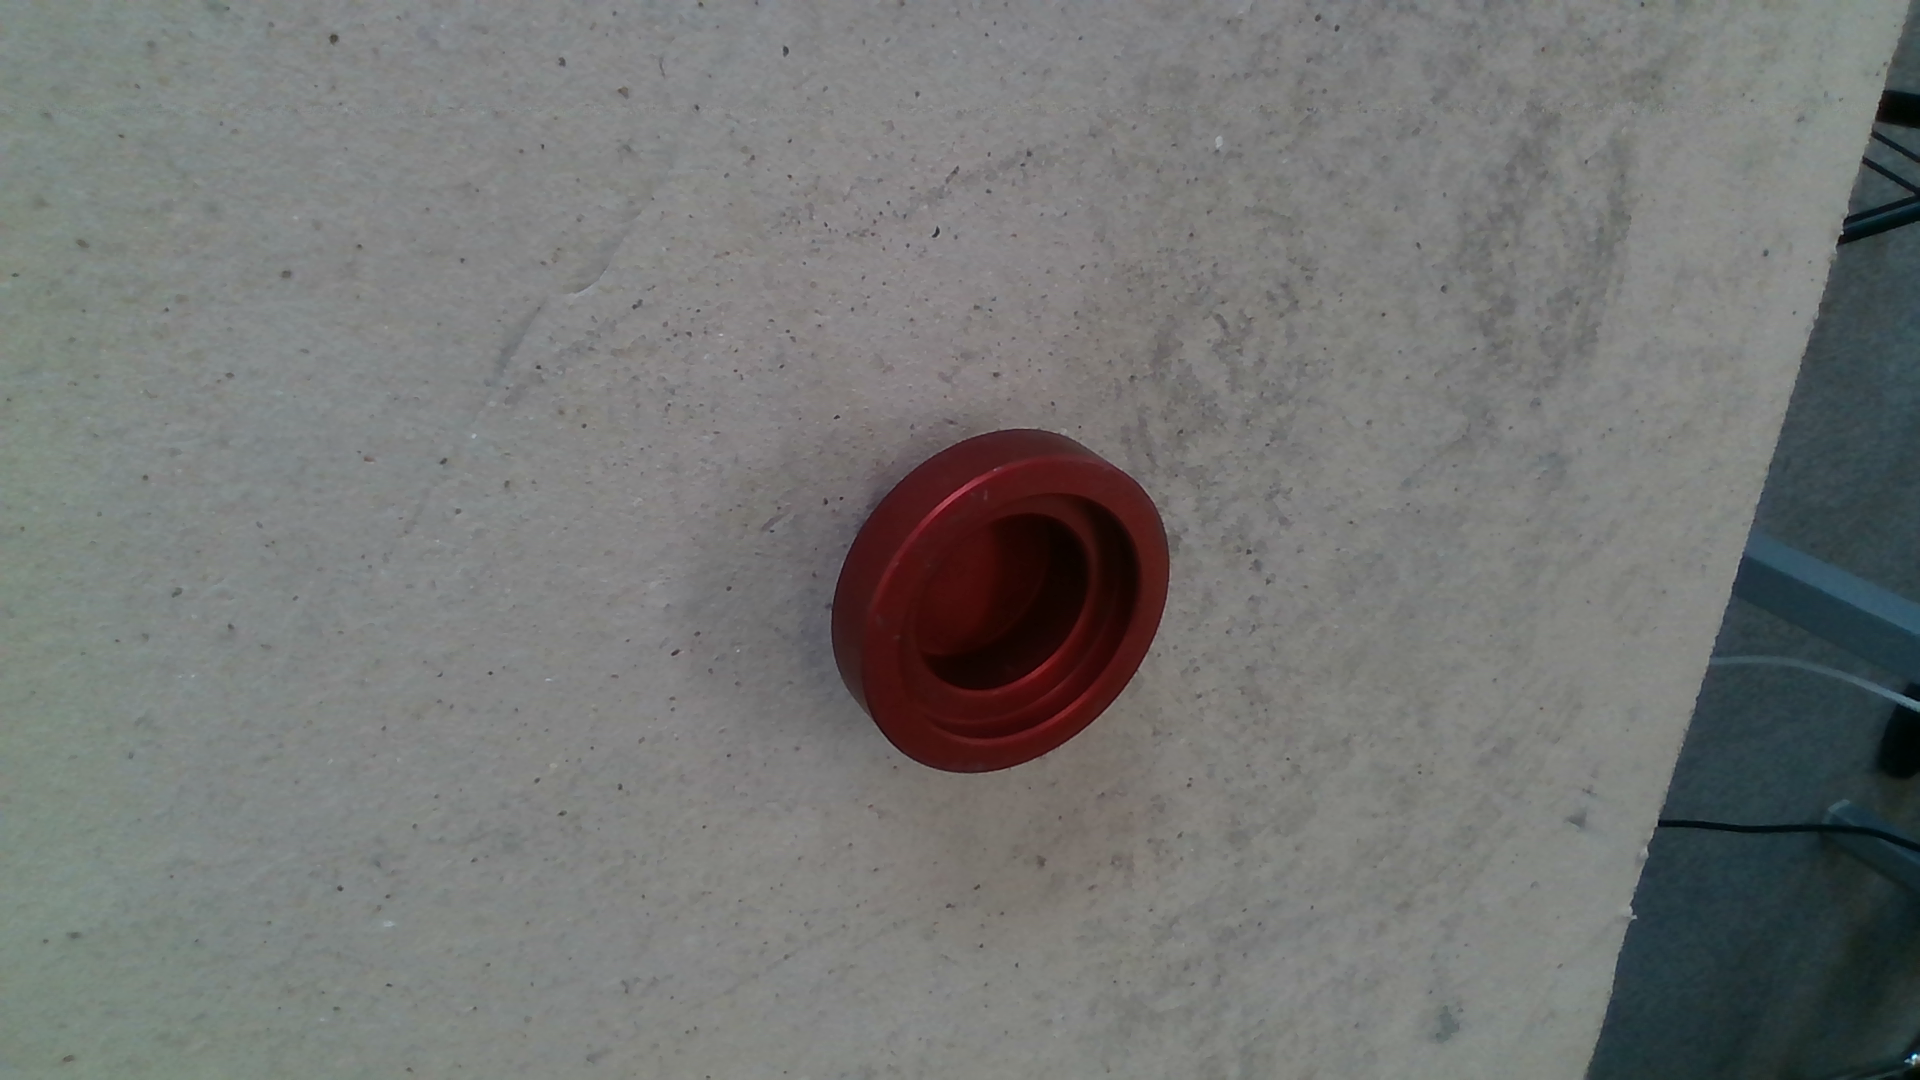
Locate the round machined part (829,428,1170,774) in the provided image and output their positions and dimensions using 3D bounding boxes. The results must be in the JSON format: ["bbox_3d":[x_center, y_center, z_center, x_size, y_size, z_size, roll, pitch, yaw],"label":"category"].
[{"bbox_3d":[0.008,0.014,0.391,0.098,0.042,0.098,-14,122,-25],"label":"round machined part"}]
